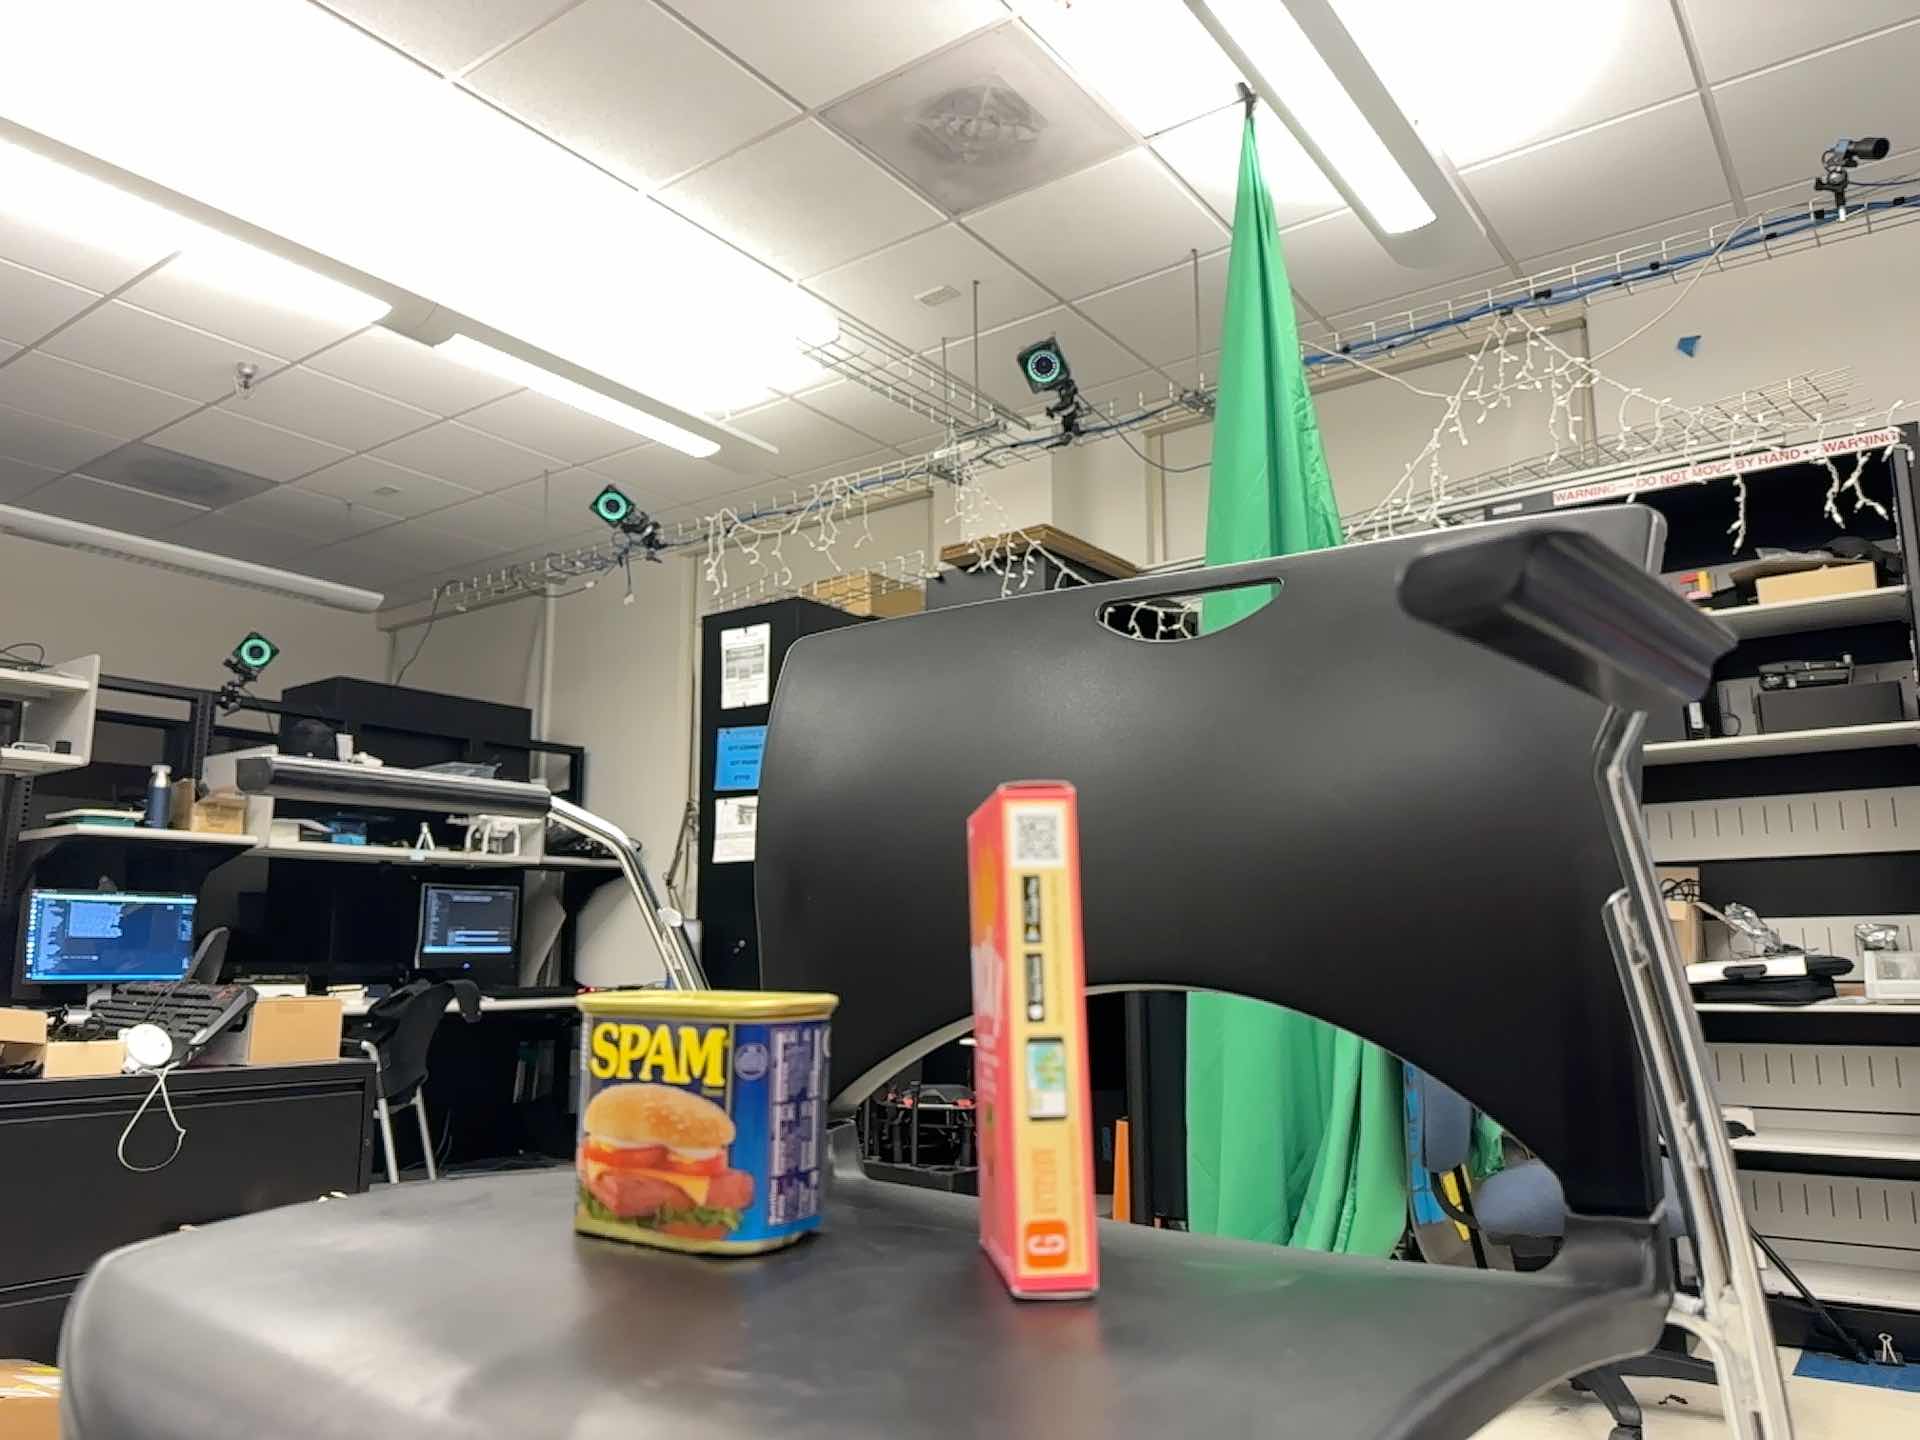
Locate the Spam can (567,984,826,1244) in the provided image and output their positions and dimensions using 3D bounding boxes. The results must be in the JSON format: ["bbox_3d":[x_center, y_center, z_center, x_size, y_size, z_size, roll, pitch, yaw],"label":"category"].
[{"bbox_3d":[-0.100,0.143,0.502,0.100,0.083,0.056,-7,-13,40],"label":"Spam can"}]

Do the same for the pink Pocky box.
[{"bbox_3d":[0.023,0.101,0.445,0.029,0.154,0.084,0,-13,-5],"label":"pink Pocky box"}]
